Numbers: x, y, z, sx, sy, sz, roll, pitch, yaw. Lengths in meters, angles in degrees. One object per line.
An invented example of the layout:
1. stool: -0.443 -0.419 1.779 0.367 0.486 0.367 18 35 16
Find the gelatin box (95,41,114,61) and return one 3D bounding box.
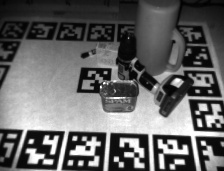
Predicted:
1. gelatin box: -0.006 -0.113 0.706 0.089 0.073 0.030 11 62 6

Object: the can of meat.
1. can of meat: 0.013 0.019 0.610 0.102 0.084 0.057 1 55 1

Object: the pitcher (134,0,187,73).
1. pitcher: 0.136 -0.156 0.640 0.186 0.244 0.134 27 65 25

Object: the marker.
1. marker: -0.057 -0.147 0.757 0.121 0.020 0.019 -22 60 -12

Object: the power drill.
1. power drill: 0.083 -0.058 0.604 0.186 0.185 0.057 35 67 15
